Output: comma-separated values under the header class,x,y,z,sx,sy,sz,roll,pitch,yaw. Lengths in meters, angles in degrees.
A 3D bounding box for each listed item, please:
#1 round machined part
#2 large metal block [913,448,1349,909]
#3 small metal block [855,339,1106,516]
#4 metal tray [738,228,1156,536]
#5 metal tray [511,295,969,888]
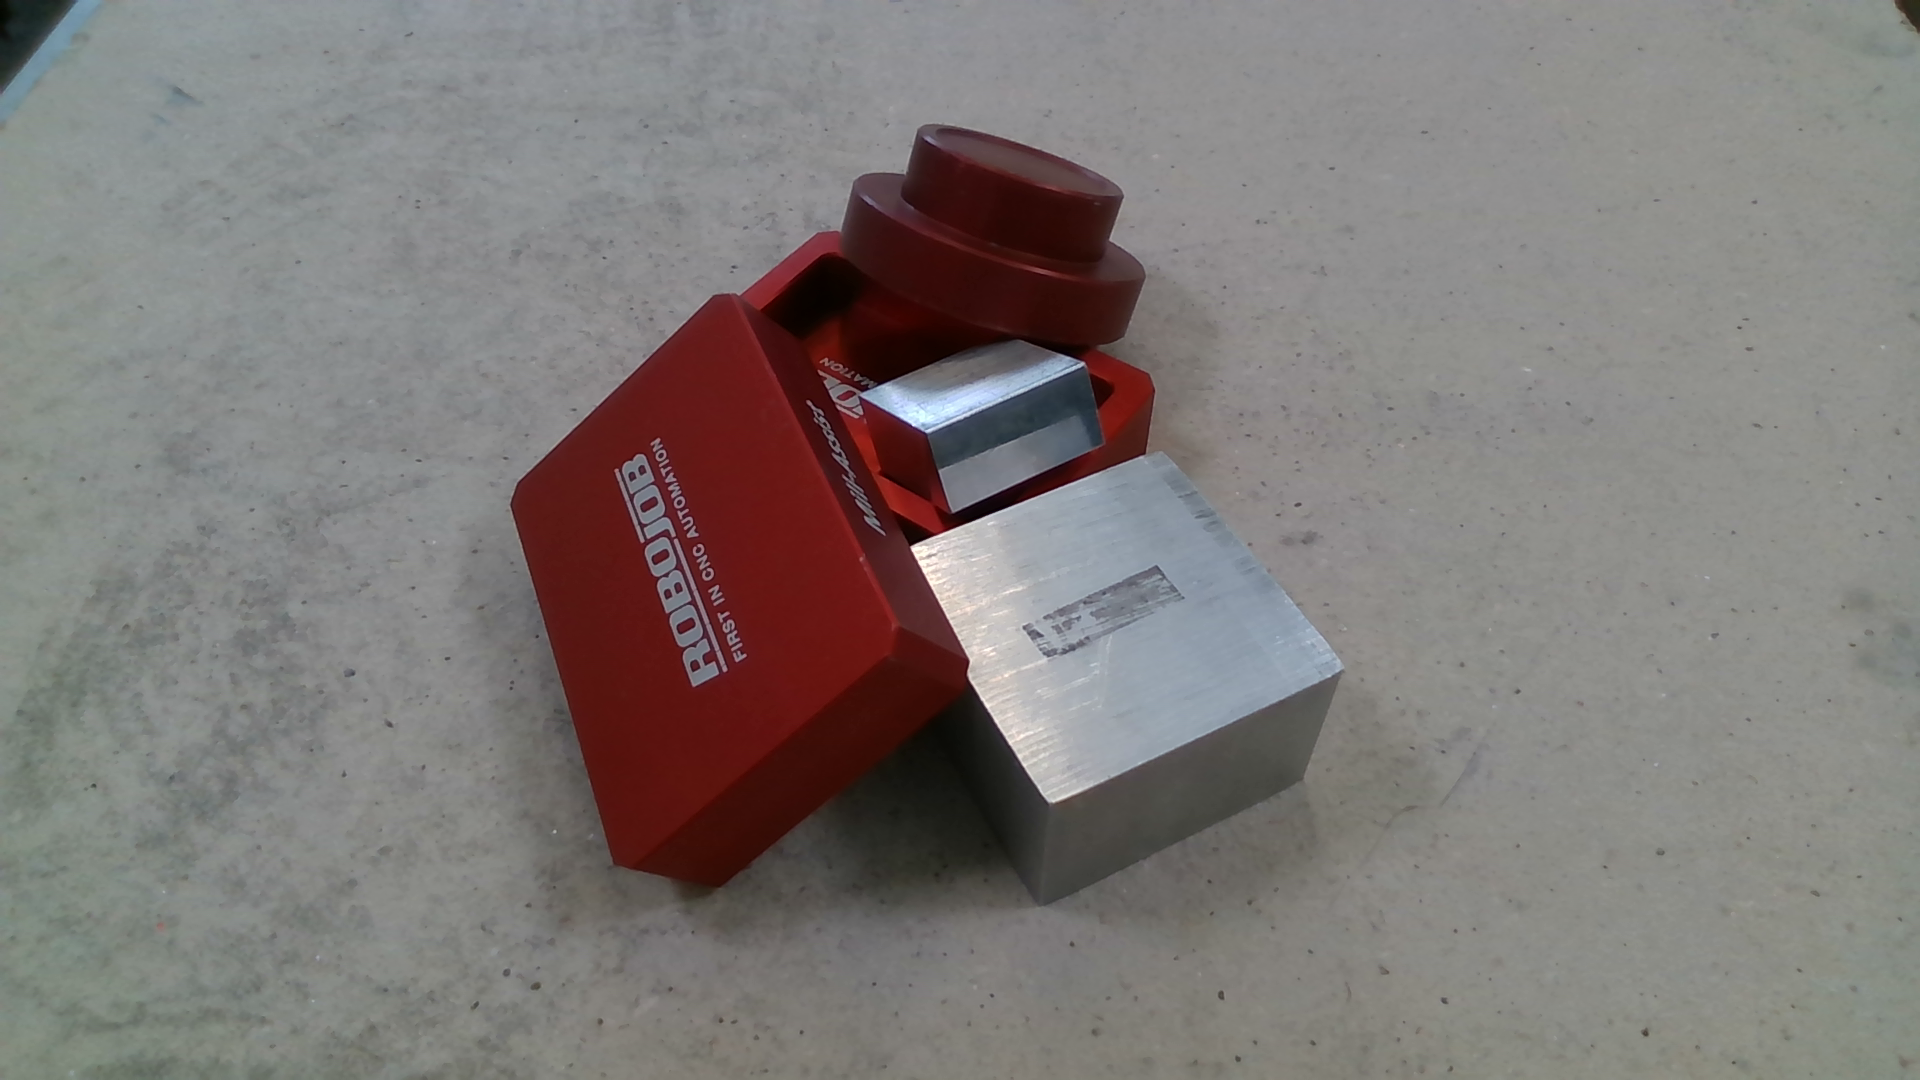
class,x,y,z,sx,sy,sz,roll,pitch,yaw
round machined part,0.013,-0.101,0.440,0.098,0.042,0.098,16,24,-7
large metal block,0.037,0.033,0.351,0.080,0.050,0.080,-21,53,-17
small metal block,0.005,-0.035,0.393,0.050,0.025,0.050,-25,26,-17
metal tray,-0.018,-0.040,0.423,0.130,0.030,0.090,28,56,21
metal tray,-0.062,0.009,0.353,0.090,0.030,0.130,-40,52,14
